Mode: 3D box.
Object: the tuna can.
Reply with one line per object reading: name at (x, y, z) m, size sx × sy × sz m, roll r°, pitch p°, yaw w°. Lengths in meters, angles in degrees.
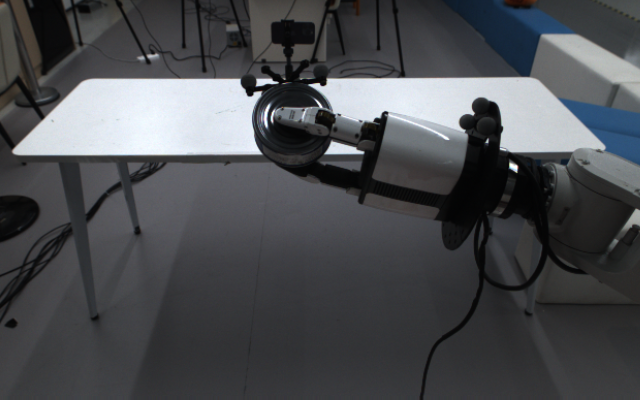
tuna can at (-0.024, -0.075, 0.510) m, size 0.085 × 0.034 × 0.085 m, roll 0°, pitch 73°, yaw -1°
